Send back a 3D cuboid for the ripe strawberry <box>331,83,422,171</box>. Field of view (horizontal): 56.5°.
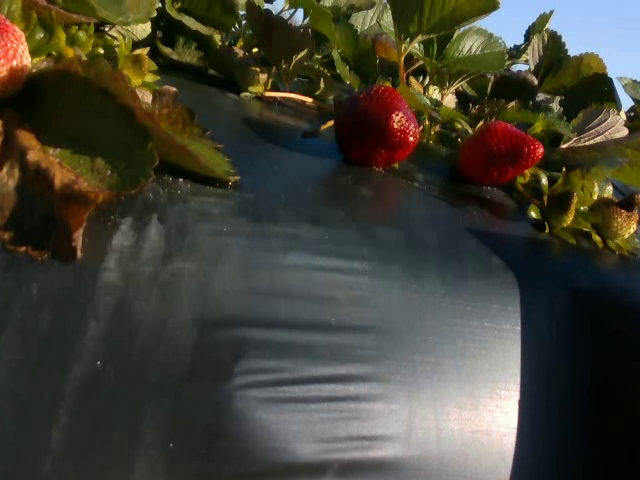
[{"bbox_3d":[0.029,-0.056,0.285,0.050,0.045,0.050,27,-4,-9],"label":"ripe strawberry"}]

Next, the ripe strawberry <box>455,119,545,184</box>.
[{"bbox_3d":[0.097,-0.045,0.310,0.042,0.039,0.049,-36,21,-26],"label":"ripe strawberry"}]
